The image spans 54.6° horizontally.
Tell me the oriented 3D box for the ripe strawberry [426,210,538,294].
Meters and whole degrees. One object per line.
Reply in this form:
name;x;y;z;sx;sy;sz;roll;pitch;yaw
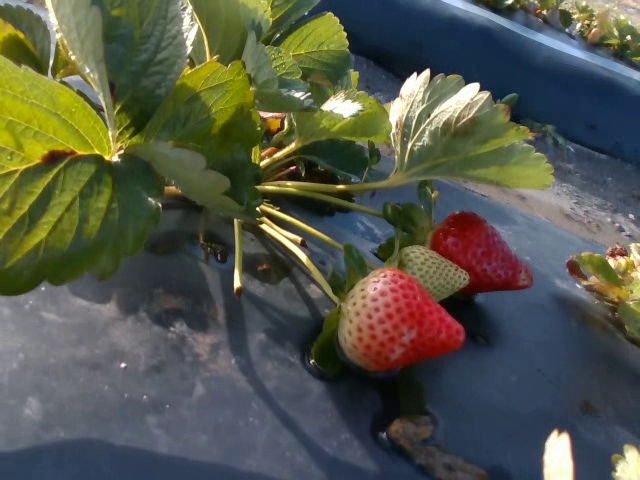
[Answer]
ripe strawberry;0.085;0.010;0.313;0.064;0.049;0.050;34;-18;7
